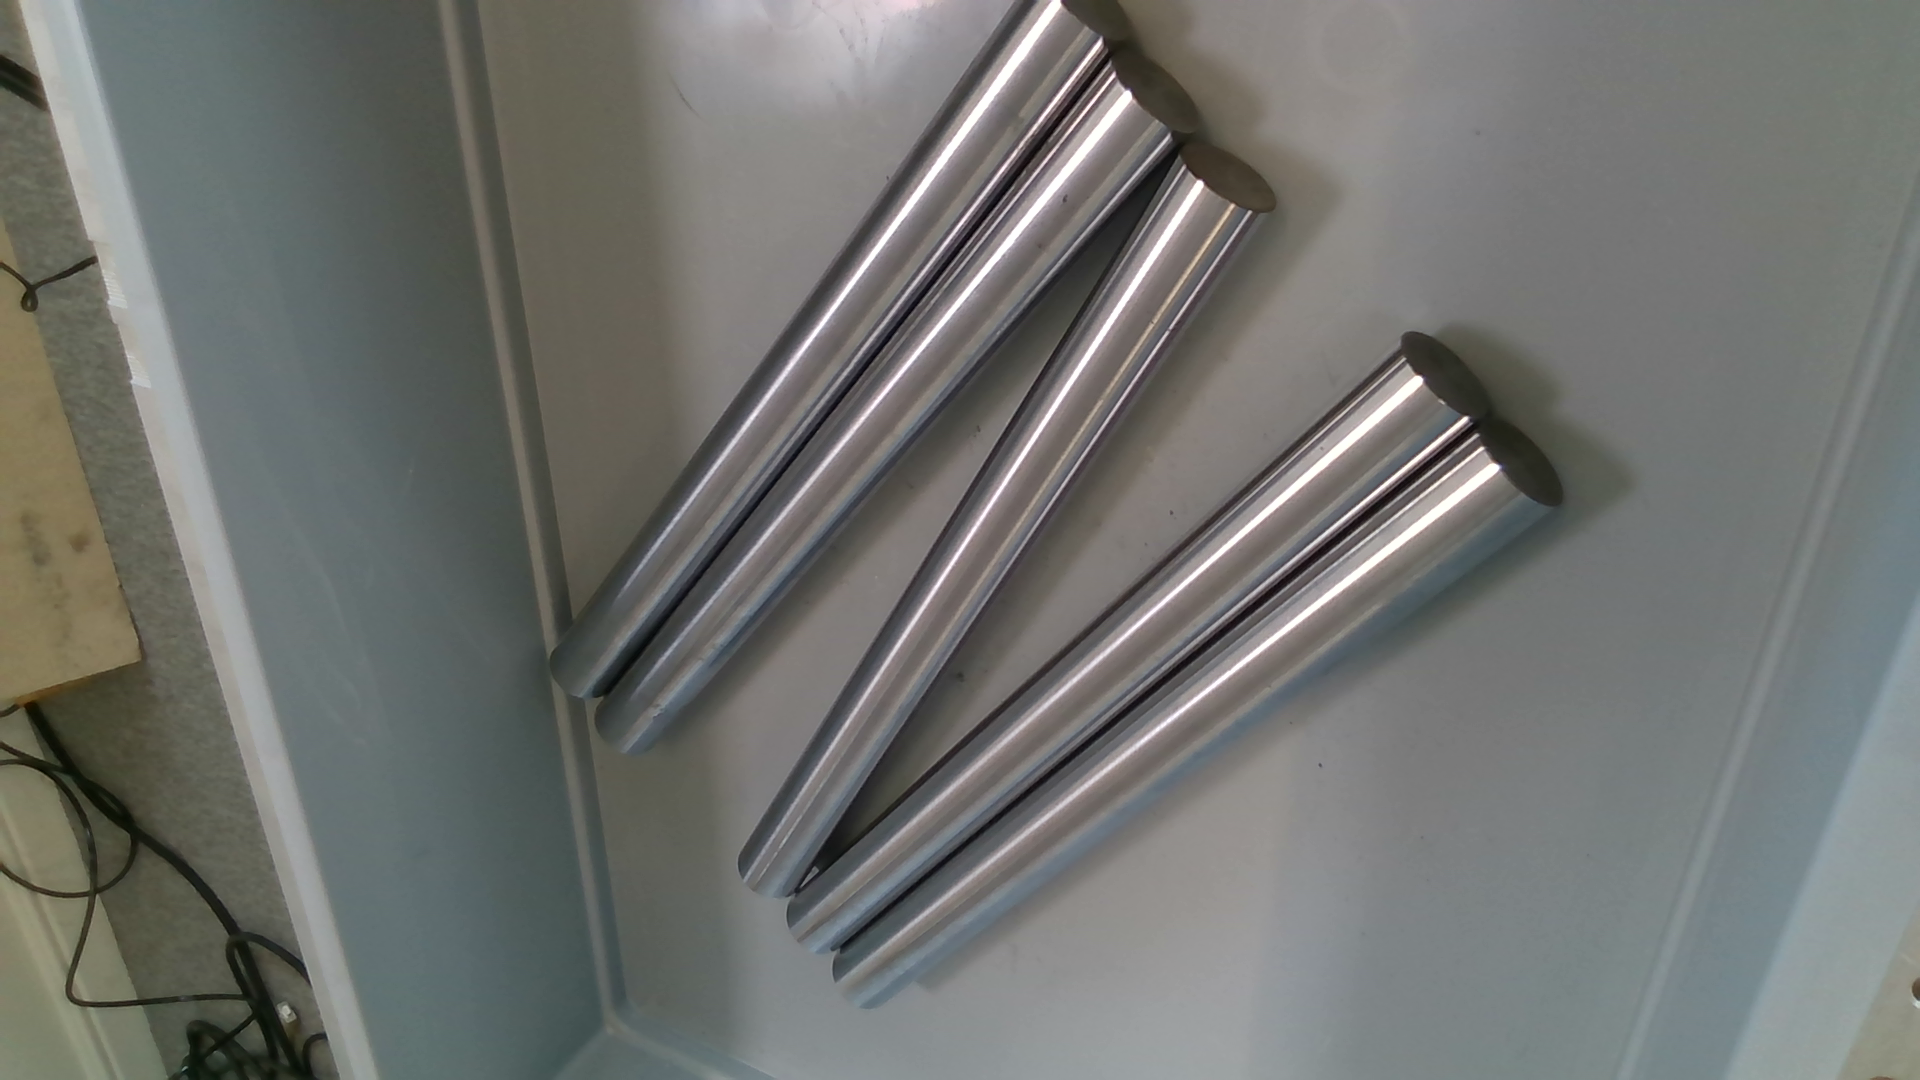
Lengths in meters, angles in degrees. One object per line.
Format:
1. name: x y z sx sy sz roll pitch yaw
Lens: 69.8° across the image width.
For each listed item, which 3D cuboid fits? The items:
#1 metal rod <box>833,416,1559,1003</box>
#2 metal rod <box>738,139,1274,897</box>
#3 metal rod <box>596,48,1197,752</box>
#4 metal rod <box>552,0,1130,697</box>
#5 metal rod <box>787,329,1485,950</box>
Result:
1. metal rod: 0.044 0.068 0.398 0.025 0.025 0.301 45 129 3
2. metal rod: -0.004 0.018 0.400 0.025 0.025 0.301 39 129 8
3. metal rod: -0.038 -0.018 0.402 0.025 0.025 0.301 46 129 2
4. metal rod: -0.054 -0.037 0.400 0.025 0.025 0.301 46 129 2
5. metal rod: 0.028 0.049 0.398 0.025 0.025 0.301 45 129 3
